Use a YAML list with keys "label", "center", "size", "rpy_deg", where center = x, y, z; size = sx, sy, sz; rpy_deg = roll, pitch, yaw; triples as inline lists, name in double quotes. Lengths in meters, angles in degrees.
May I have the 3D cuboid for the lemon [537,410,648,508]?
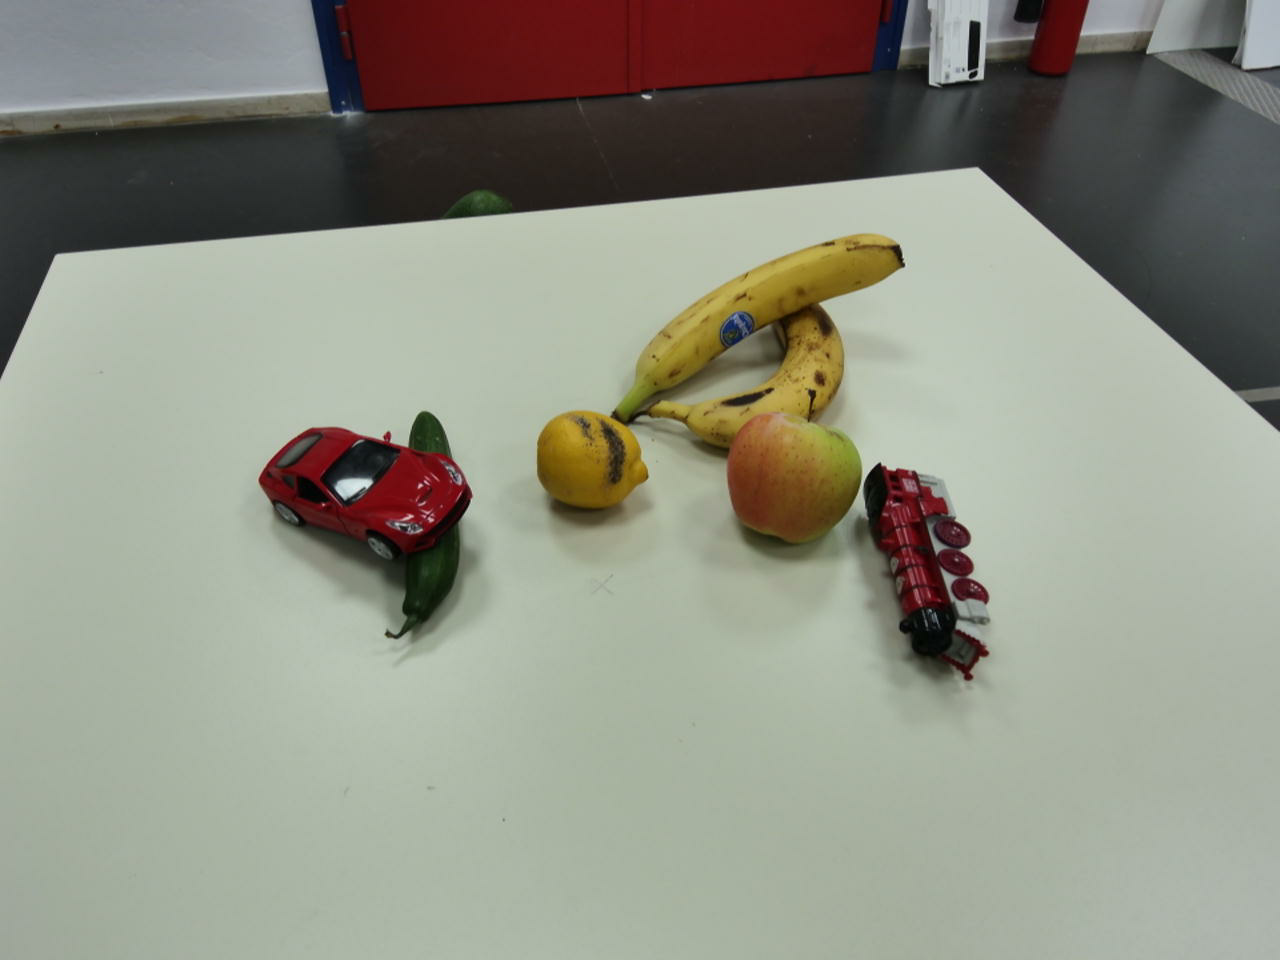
- label: "lemon"
  center: [-0.030, -0.012, 0.581]
  size: [0.061, 0.056, 0.058]
  rpy_deg: [-14, 41, -16]
